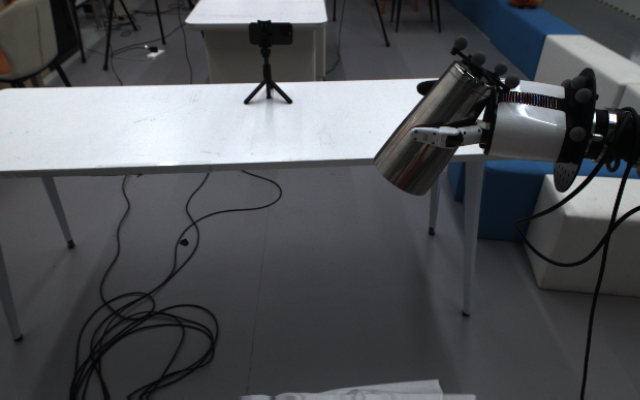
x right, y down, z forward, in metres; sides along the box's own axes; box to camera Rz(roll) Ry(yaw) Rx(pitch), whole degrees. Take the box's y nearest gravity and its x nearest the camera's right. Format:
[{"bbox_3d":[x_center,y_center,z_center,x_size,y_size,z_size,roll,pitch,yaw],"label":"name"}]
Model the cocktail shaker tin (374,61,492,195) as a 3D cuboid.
[{"bbox_3d":[0.158,-0.104,0.661,0.093,0.170,0.093,26,32,-17],"label":"cocktail shaker tin"}]
